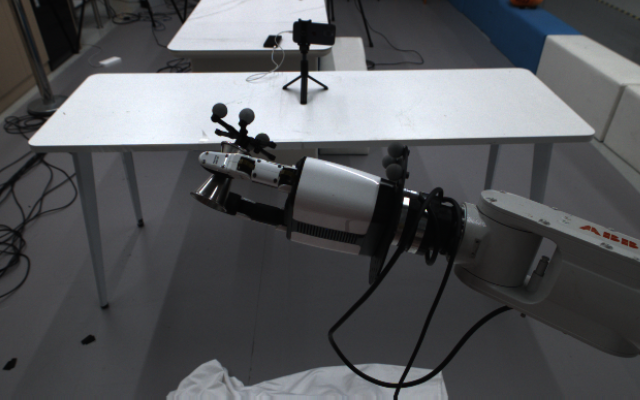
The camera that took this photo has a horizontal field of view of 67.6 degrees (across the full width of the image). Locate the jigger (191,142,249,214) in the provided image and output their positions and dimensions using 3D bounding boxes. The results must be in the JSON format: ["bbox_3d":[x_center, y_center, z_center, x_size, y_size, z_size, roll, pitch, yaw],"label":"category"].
[{"bbox_3d":[-0.108,-0.028,0.535,0.043,0.043,0.071,19,72,23],"label":"jigger"}]
